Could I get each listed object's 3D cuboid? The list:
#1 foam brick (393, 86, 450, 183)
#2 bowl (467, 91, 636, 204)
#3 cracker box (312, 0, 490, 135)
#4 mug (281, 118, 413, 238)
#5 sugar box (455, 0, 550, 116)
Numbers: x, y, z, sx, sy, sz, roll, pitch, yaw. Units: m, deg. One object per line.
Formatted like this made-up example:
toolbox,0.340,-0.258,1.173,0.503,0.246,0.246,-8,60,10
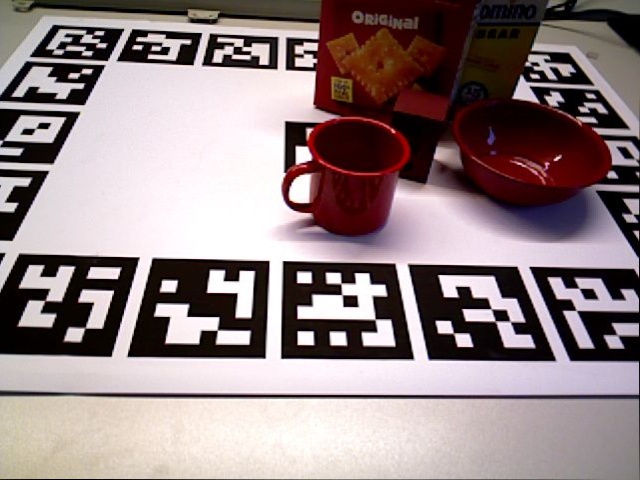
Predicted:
foam brick,0.100,-0.109,0.566,0.053,0.080,0.050,12,43,7
bowl,0.223,-0.086,0.549,0.161,0.056,0.159,2,45,-3
cracker box,0.086,-0.231,0.585,0.164,0.219,0.070,23,44,16
mug,0.023,-0.055,0.488,0.116,0.083,0.092,-6,37,-9
sugar box,0.193,-0.224,0.613,0.093,0.180,0.044,17,45,11
